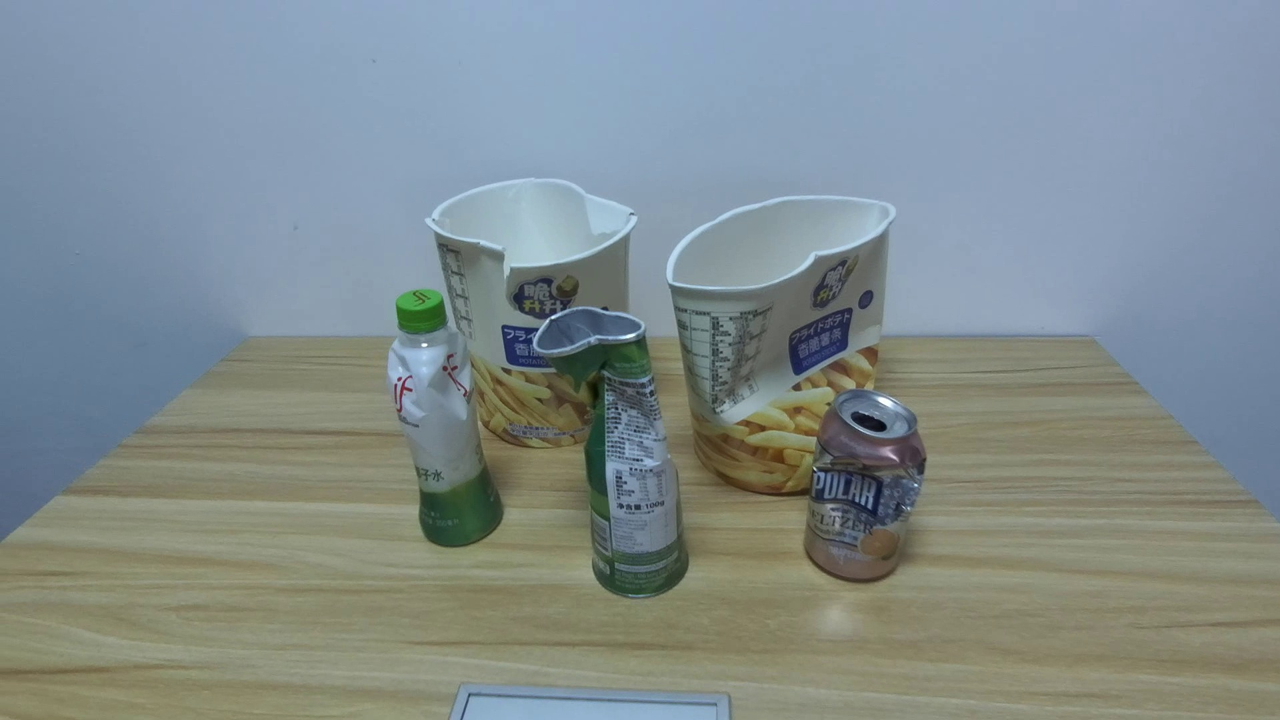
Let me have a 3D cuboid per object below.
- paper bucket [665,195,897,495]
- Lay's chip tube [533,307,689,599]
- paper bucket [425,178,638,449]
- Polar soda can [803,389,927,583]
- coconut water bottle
[{"bbox_3d":[0.118,-0.013,0.570,0.147,0.199,0.218,8,31,17],"label":"paper bucket"},{"bbox_3d":[-0.015,0.060,0.459,0.071,0.200,0.079,-12,29,-1],"label":"Lay's chip tube"},{"bbox_3d":[-0.087,-0.043,0.642,0.146,0.197,0.201,-27,38,-33],"label":"paper bucket"},{"bbox_3d":[0.154,0.085,0.479,0.070,0.122,0.067,15,30,28],"label":"Polar soda can"},{"bbox_3d":[-0.142,0.043,0.509,0.067,0.187,0.067,-2,27,1],"label":"coconut water bottle"}]
